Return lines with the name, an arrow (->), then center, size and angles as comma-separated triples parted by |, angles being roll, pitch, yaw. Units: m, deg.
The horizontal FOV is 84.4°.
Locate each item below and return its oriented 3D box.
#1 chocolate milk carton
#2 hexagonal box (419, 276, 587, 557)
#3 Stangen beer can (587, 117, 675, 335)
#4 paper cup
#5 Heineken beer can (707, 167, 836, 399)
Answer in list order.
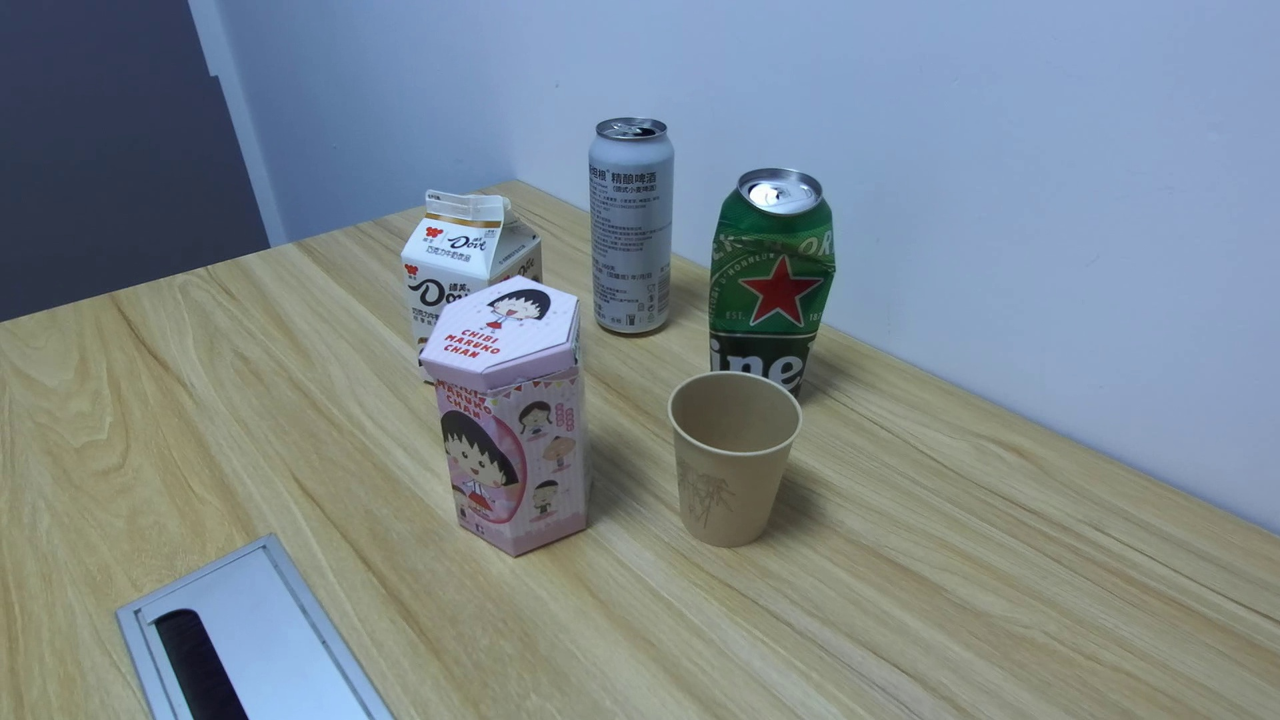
chocolate milk carton -> -0.119, -0.055, 0.519 | 0.075, 0.148, 0.074 | 15, 38, 18
hexagonal box -> -0.070, 0.033, 0.407 | 0.092, 0.135, 0.085 | 22, 41, 27
Stangen beer can -> -0.007, -0.105, 0.577 | 0.067, 0.171, 0.067 | 0, 33, 0
paper cup -> 0.051, 0.061, 0.410 | 0.075, 0.082, 0.075 | 0, 36, 0
Heineken beer can -> 0.086, -0.041, 0.485 | 0.068, 0.168, 0.069 | 31, 47, 33
